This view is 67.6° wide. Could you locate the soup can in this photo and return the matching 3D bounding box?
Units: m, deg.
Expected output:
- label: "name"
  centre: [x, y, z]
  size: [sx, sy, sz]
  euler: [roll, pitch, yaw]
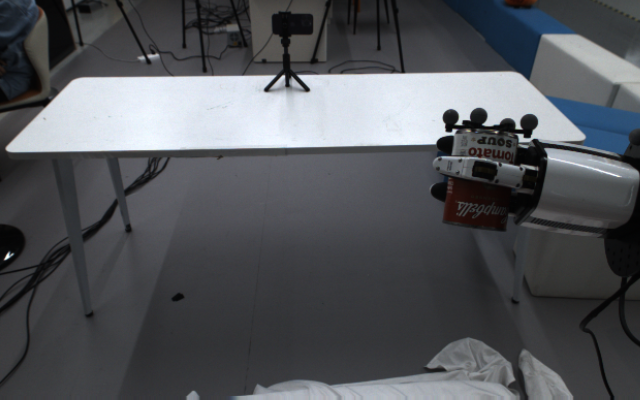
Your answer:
- label: "soup can"
  centre: [0.175, -0.021, 0.524]
  size: [0.067, 0.101, 0.067]
  euler: [7, 3, 0]
